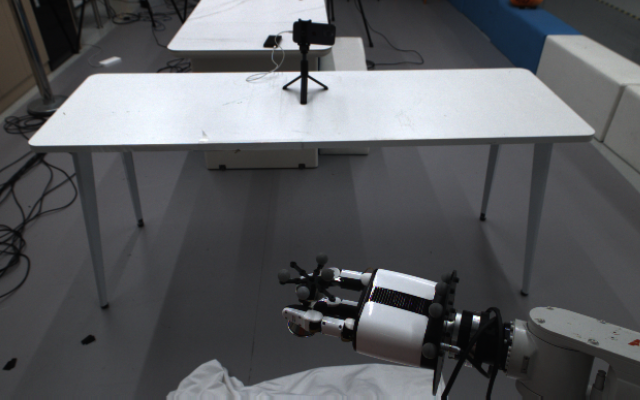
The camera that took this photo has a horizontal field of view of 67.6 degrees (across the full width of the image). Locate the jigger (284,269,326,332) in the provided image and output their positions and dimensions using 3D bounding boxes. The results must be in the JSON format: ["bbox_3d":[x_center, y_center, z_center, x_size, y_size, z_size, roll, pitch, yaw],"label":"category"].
[{"bbox_3d":[-0.020,0.151,0.678,0.043,0.071,0.043,9,30,-5],"label":"jigger"}]
